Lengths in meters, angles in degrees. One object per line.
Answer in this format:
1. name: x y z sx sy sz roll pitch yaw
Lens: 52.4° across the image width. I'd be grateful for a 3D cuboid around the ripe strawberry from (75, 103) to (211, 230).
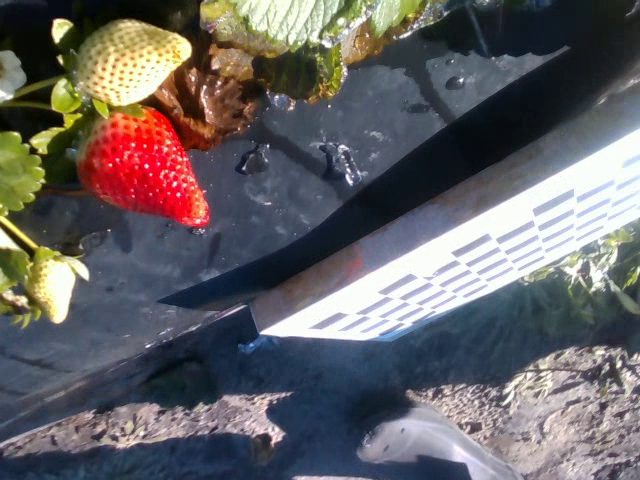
1. ripe strawberry: -0.057 -0.021 0.222 0.042 0.053 0.040 -46 -4 -44
